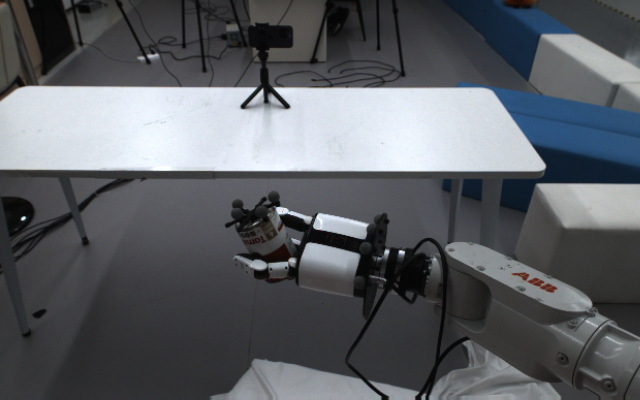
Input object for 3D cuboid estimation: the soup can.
[{"bbox_3d":[-0.075,0.067,0.736,0.067,0.101,0.067,-21,24,10],"label":"soup can"}]
